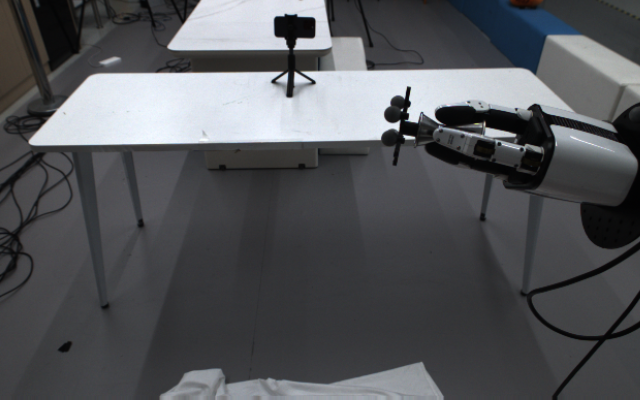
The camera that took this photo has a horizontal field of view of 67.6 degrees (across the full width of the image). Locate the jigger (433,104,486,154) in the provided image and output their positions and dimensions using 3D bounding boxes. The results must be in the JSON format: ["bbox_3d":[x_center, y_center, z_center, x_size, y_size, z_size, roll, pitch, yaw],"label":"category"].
[{"bbox_3d":[0.147,-0.076,0.531,0.071,0.043,0.043,10,35,9],"label":"jigger"}]
